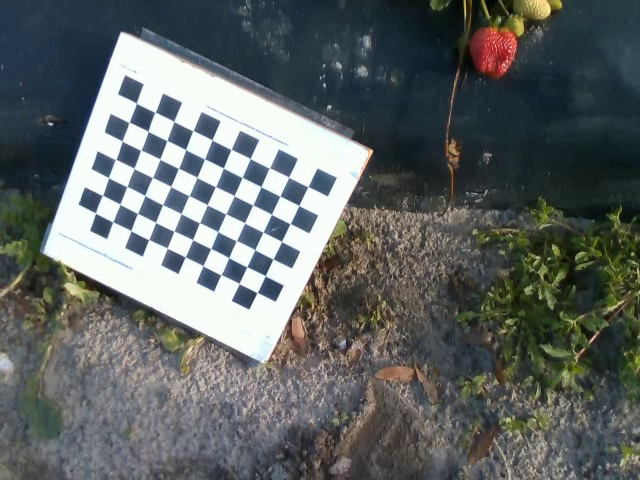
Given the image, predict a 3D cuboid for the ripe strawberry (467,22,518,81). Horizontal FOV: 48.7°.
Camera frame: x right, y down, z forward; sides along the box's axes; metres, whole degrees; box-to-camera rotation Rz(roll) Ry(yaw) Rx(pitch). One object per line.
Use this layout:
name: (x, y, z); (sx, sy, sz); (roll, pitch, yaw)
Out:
ripe strawberry: (0.170, -0.192, 0.710); (0.047, 0.050, 0.034); (6, 7, 9)
